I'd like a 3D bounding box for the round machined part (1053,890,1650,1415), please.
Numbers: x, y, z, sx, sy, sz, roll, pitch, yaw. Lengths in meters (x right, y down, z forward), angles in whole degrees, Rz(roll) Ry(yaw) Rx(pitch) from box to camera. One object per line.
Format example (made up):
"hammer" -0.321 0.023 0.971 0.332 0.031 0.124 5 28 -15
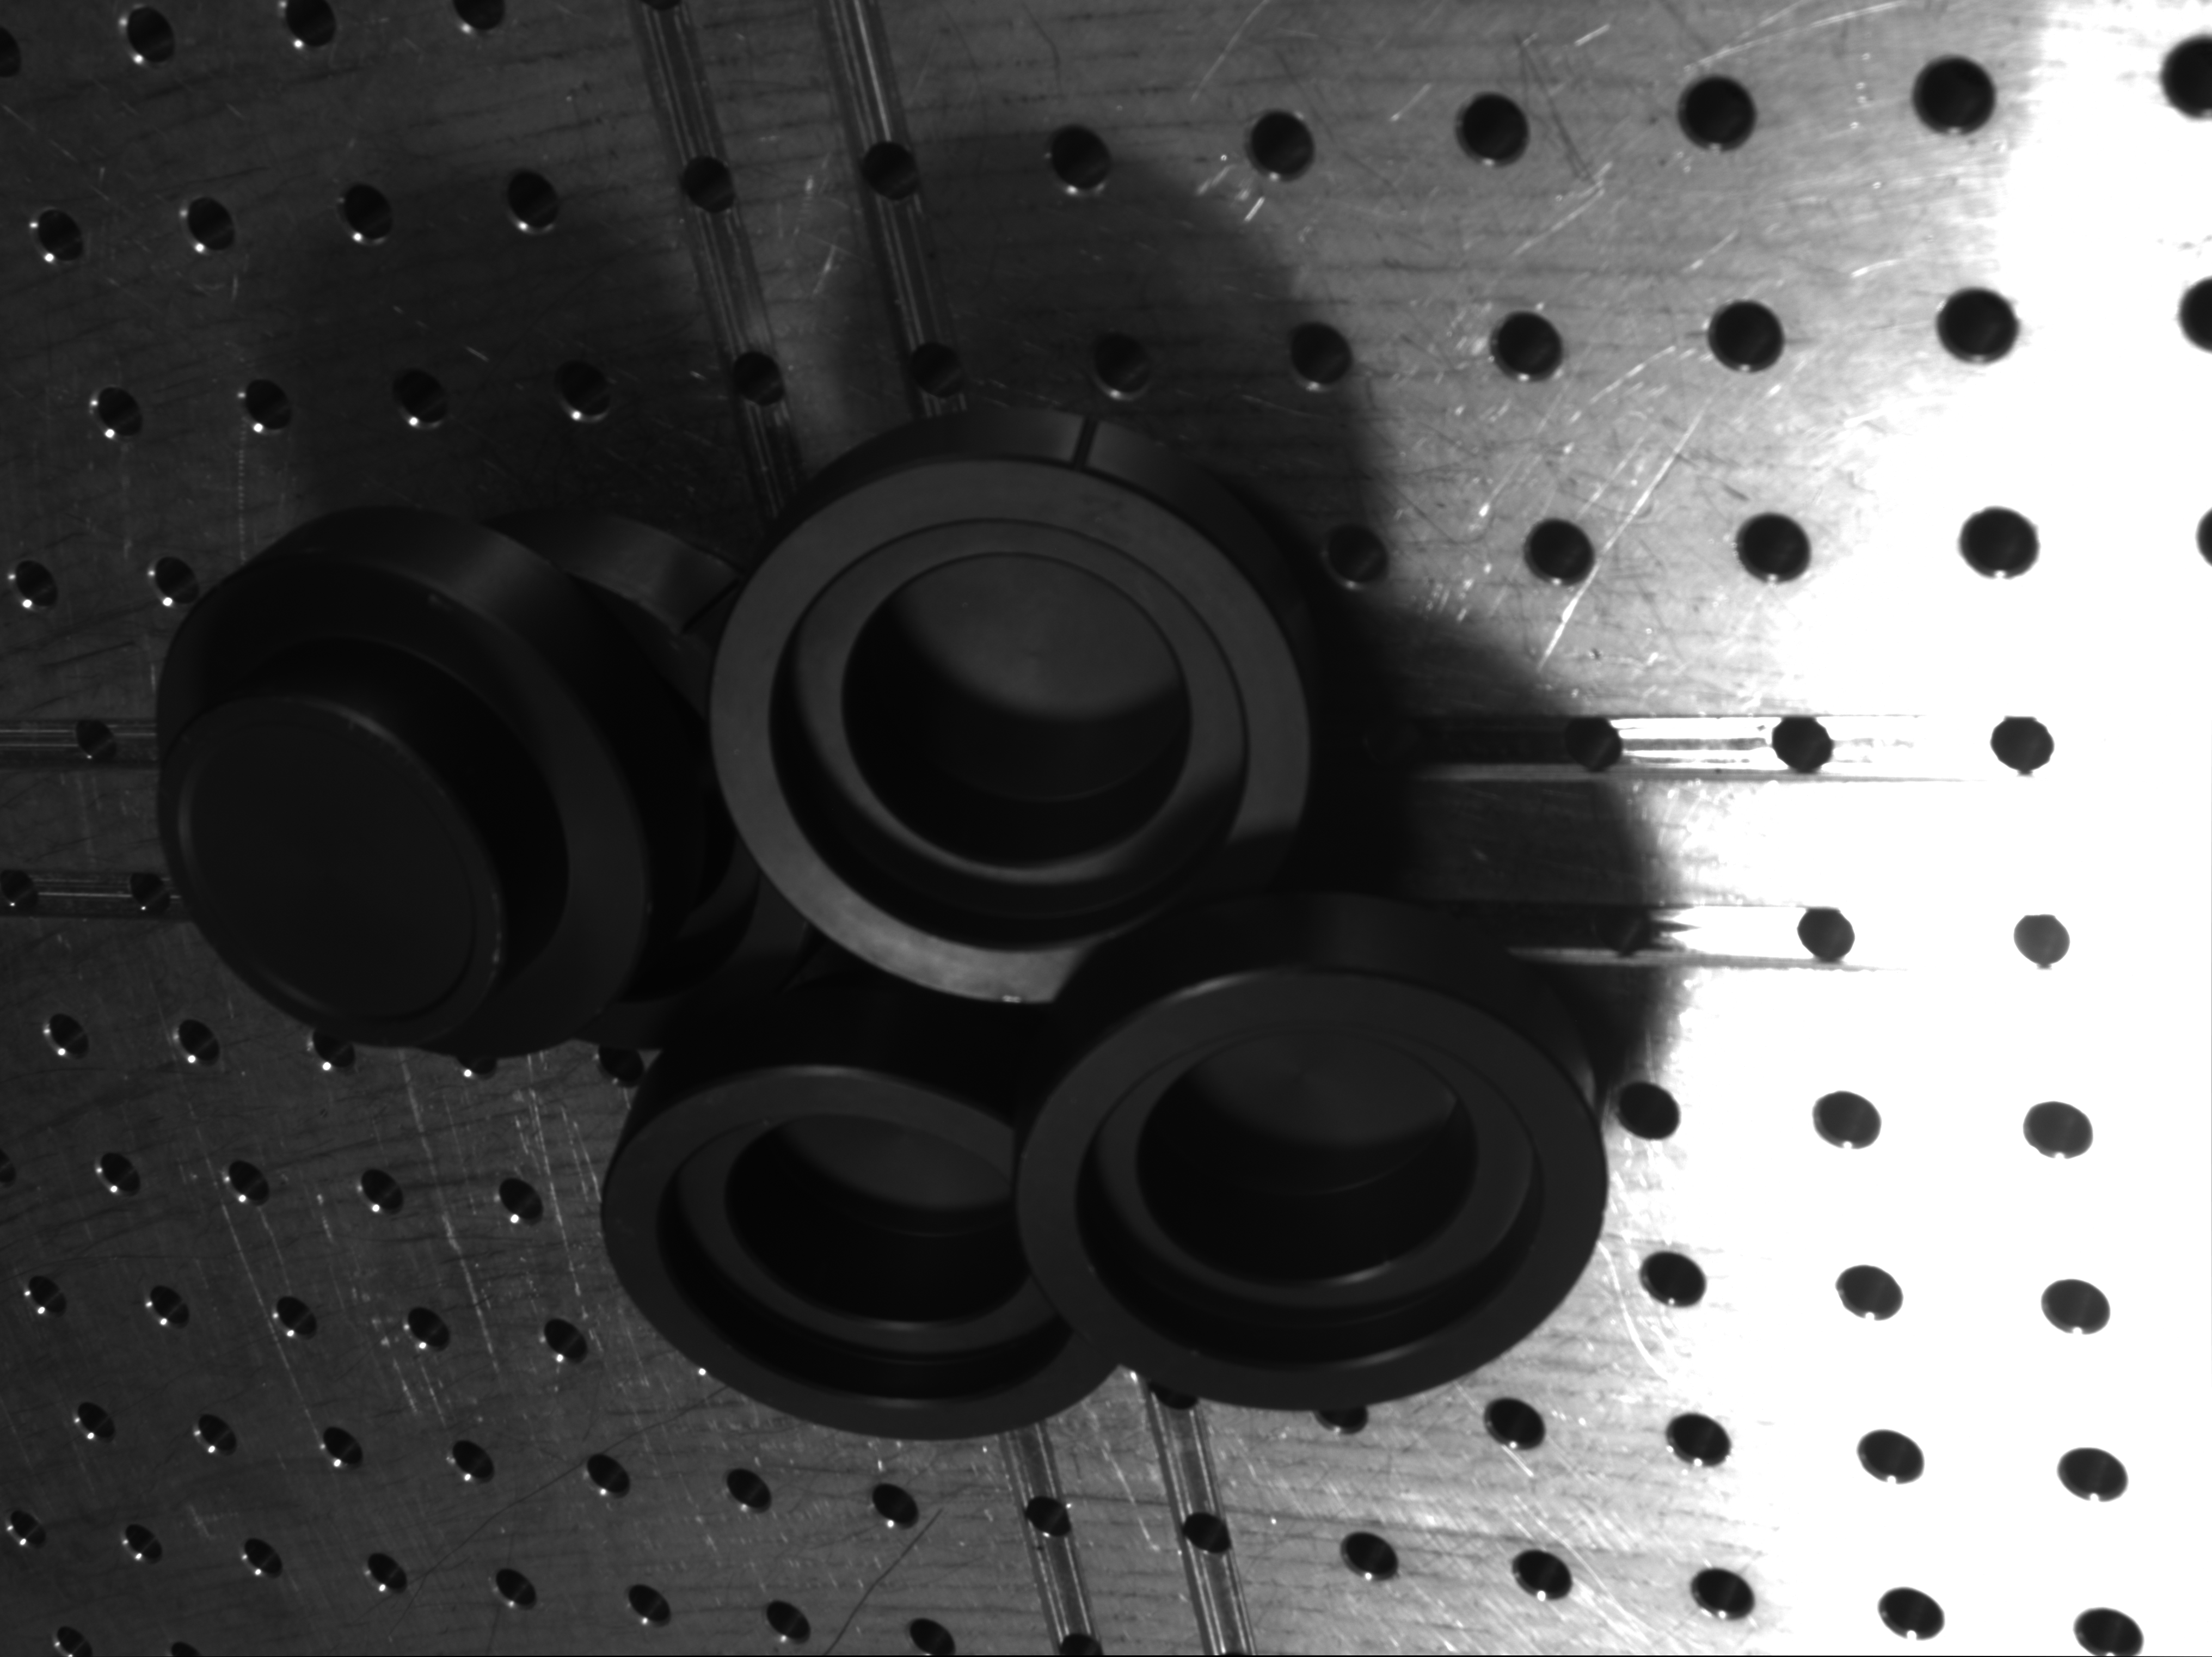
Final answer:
"round machined part" 0.041 0.050 0.618 0.098 0.042 0.098 0 126 1

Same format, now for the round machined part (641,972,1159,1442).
"round machined part" -0.032 0.065 0.667 0.098 0.042 0.098 7 133 8

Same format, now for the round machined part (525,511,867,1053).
"round machined part" -0.079 -0.012 0.655 0.098 0.042 0.098 12 123 20

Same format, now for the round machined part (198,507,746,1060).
"round machined part" -0.114 -0.002 0.625 0.098 0.042 0.098 12 123 20

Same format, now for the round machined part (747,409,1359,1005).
"round machined part" -0.007 -0.023 0.601 0.098 0.042 0.098 3 118 6
